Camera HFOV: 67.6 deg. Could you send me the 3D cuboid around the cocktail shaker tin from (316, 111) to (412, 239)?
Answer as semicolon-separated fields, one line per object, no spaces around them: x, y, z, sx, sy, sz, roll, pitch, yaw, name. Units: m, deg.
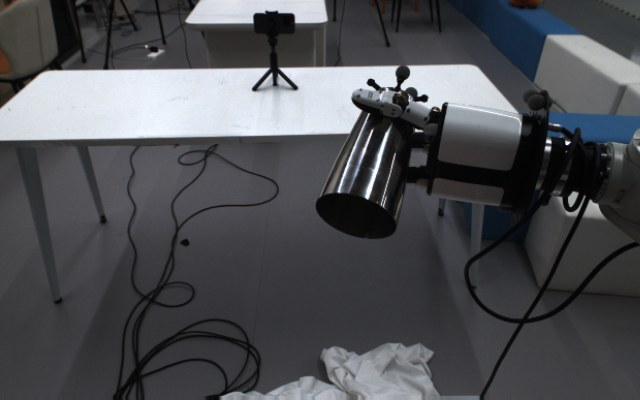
0.066;-0.053;0.570;0.093;0.093;0.170;13;59;16;cocktail shaker tin
